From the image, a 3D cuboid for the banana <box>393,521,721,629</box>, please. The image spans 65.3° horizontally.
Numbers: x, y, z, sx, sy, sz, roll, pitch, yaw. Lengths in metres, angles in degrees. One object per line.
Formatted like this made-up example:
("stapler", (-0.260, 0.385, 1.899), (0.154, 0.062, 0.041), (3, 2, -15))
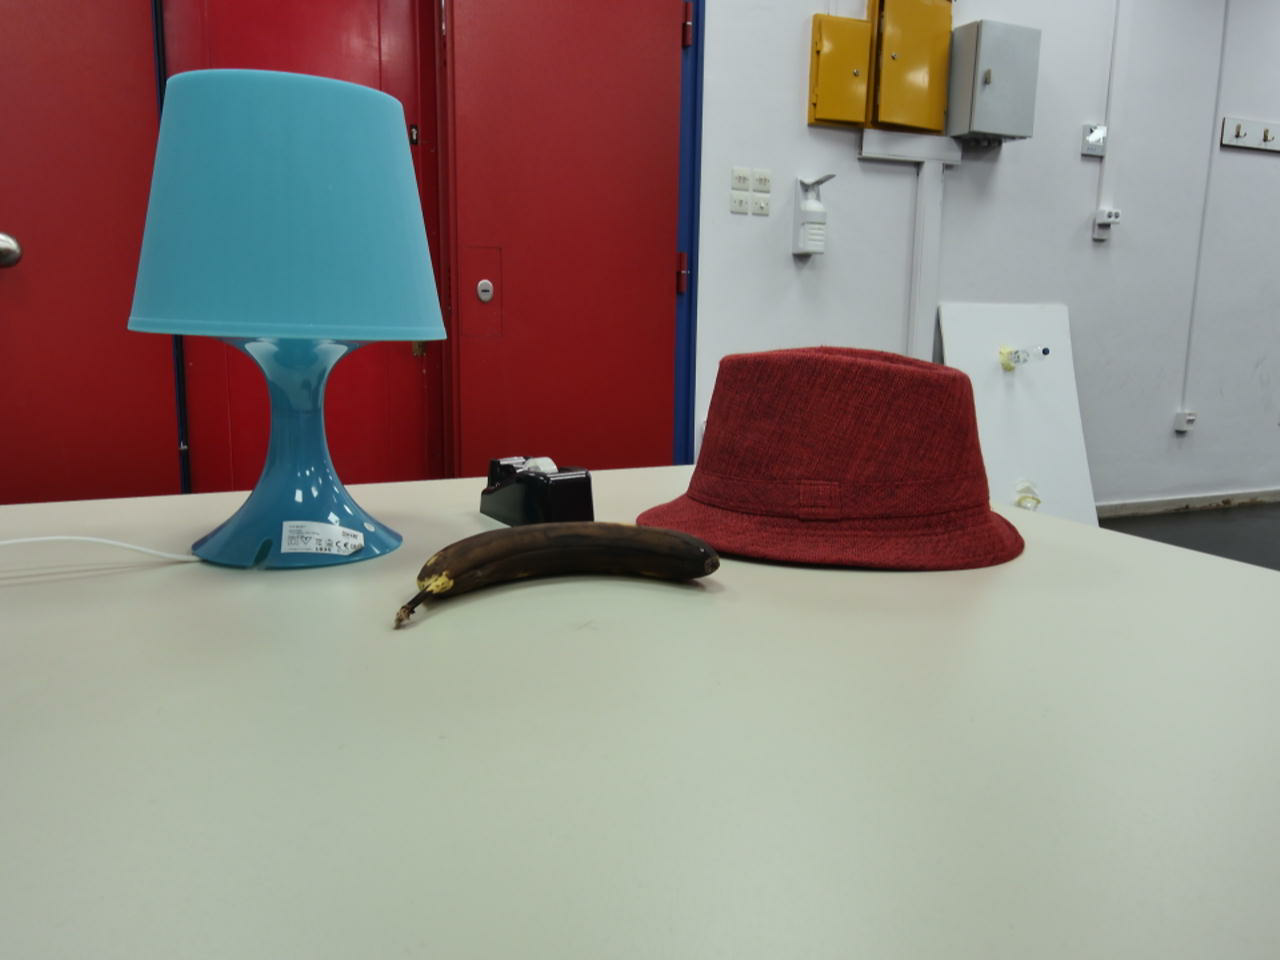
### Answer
("banana", (-0.052, 0.046, 0.573), (0.188, 0.033, 0.091), (-4, 8, -23))
